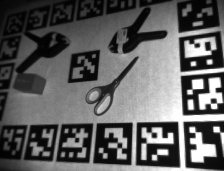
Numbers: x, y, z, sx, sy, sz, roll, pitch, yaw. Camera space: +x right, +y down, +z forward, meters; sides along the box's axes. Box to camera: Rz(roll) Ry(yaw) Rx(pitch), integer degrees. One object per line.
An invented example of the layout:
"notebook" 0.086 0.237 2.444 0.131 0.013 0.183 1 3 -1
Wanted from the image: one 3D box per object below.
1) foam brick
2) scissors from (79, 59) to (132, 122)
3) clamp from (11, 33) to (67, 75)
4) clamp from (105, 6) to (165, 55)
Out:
"foam brick" -0.273 0.005 0.696 0.077 0.052 0.052 2 75 28
"scissors" -0.010 0.004 0.603 0.087 0.016 0.203 38 88 20
"clamp" -0.249 -0.125 0.735 0.201 0.037 0.165 -8 67 19
"clamp" 0.053 -0.140 0.622 0.164 0.037 0.121 -32 71 11
